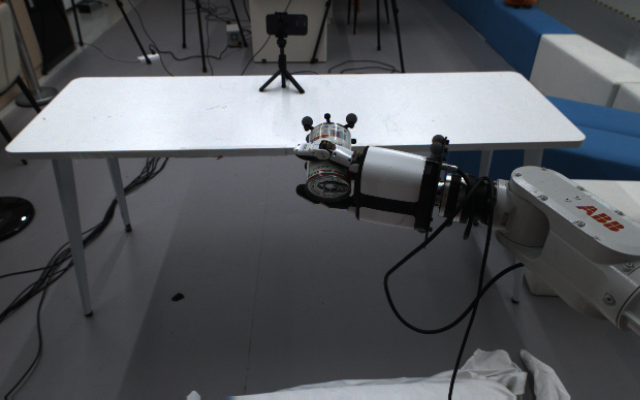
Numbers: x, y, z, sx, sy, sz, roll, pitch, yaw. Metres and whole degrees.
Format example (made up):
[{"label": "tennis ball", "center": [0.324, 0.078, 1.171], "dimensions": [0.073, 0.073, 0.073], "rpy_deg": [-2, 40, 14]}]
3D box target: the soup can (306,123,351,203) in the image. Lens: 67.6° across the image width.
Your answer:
[{"label": "soup can", "center": [0.014, -0.057, 0.721], "dimensions": [0.067, 0.067, 0.101], "rpy_deg": [3, 56, 1]}]
